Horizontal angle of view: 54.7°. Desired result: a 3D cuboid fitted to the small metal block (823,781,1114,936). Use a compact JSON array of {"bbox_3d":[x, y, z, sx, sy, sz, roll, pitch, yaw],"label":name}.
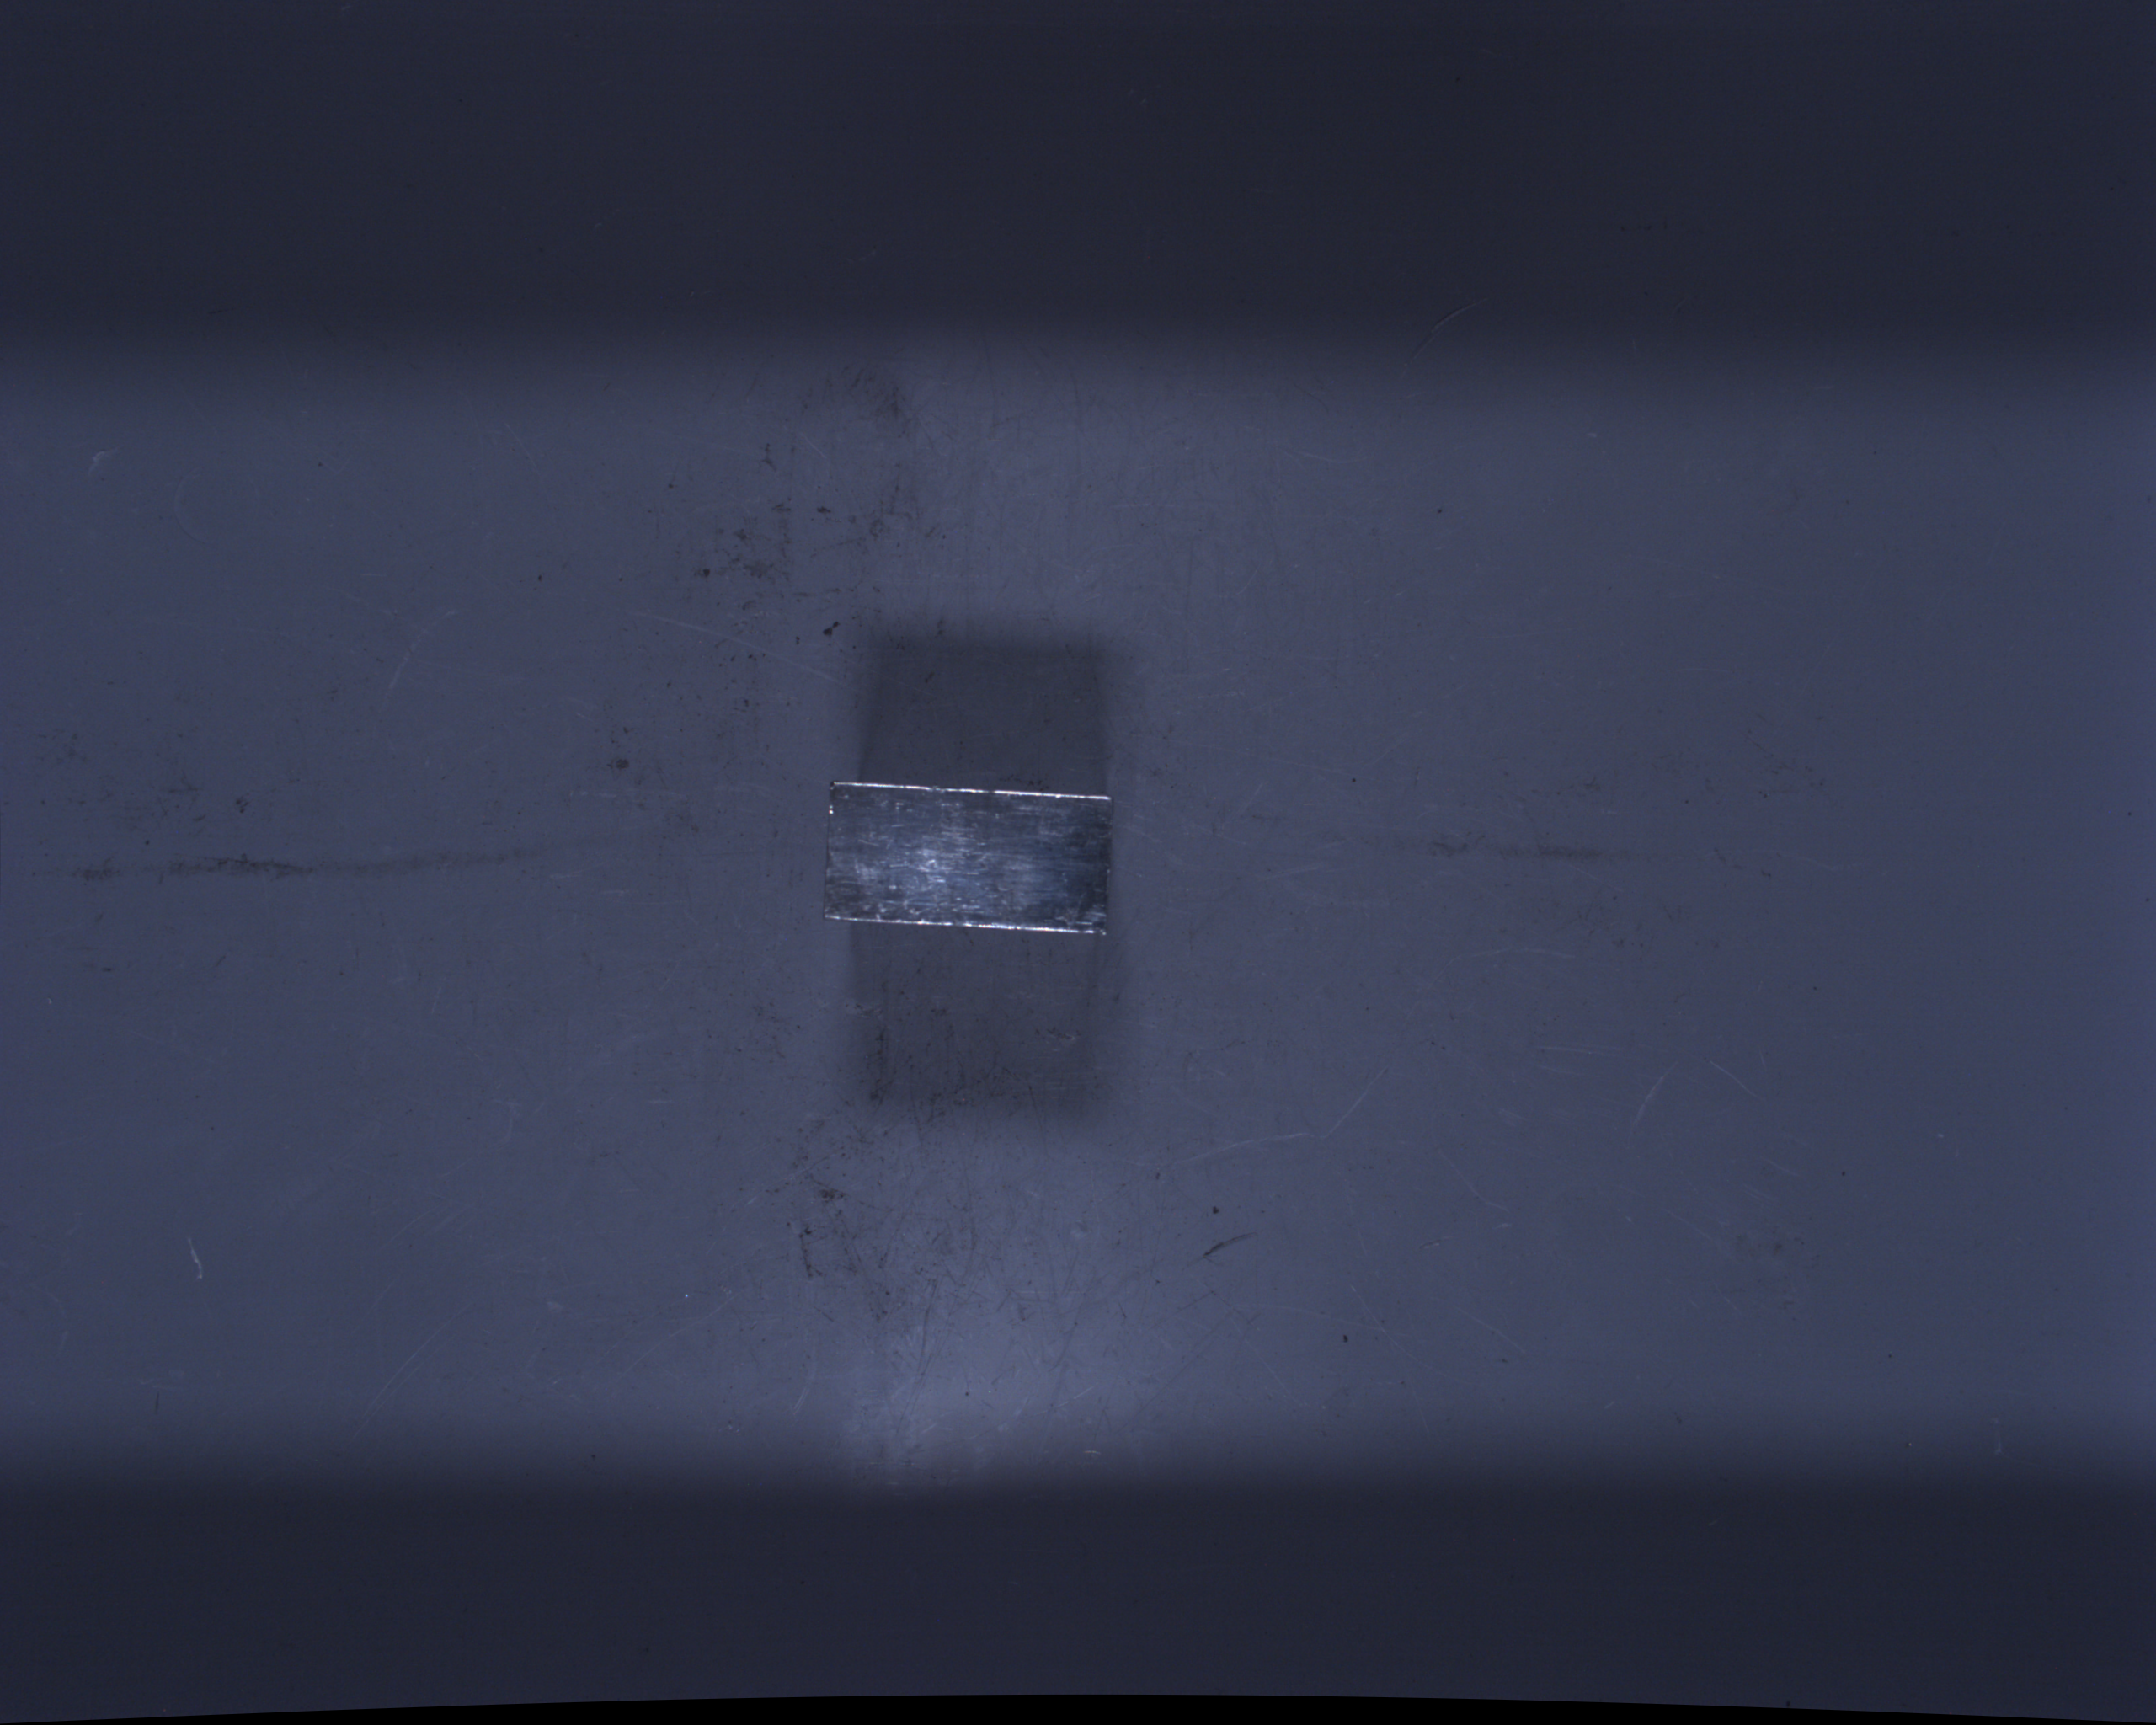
[{"bbox_3d":[-0.020,-0.001,0.395,0.050,0.050,0.025,3,90,-1],"label":"small metal block"}]
